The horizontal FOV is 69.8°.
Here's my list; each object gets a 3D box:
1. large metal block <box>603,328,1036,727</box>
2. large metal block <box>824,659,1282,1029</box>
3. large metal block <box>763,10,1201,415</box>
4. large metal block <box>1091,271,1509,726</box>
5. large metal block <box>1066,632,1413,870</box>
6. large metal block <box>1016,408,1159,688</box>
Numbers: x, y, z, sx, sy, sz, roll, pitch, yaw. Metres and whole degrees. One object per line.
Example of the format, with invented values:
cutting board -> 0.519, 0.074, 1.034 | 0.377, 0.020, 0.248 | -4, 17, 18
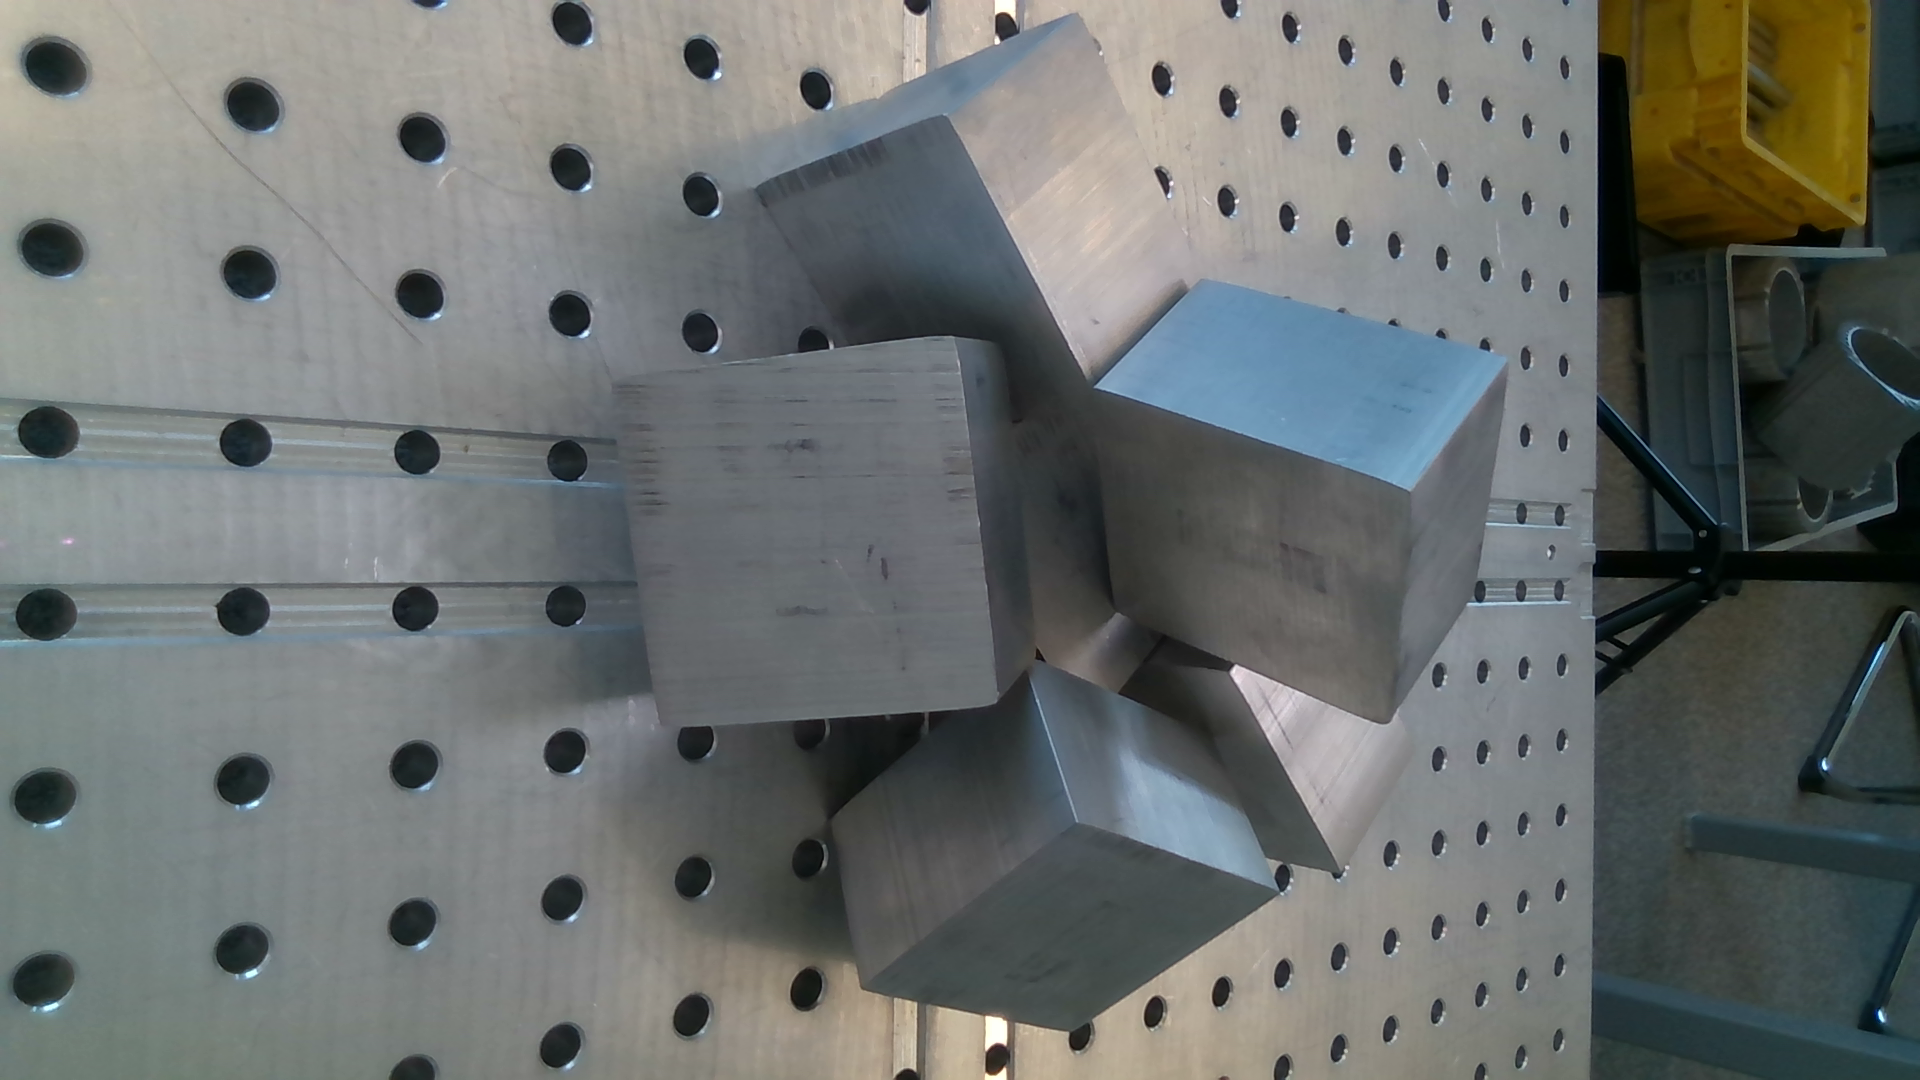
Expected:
large metal block -> -0.030, -0.004, 0.323 | 0.050, 0.080, 0.080 | -29, 113, -75
large metal block -> 0.023, 0.083, 0.369 | 0.080, 0.080, 0.050 | 26, 33, -37
large metal block -> 0.008, -0.080, 0.362 | 0.050, 0.080, 0.080 | -46, 118, -30
large metal block -> 0.083, -0.011, 0.346 | 0.050, 0.080, 0.080 | -46, 143, -31
large metal block -> 0.080, 0.049, 0.425 | 0.050, 0.080, 0.080 | -47, 118, -30
large metal block -> 0.022, -0.005, 0.398 | 0.080, 0.050, 0.080 | -47, 118, -30
